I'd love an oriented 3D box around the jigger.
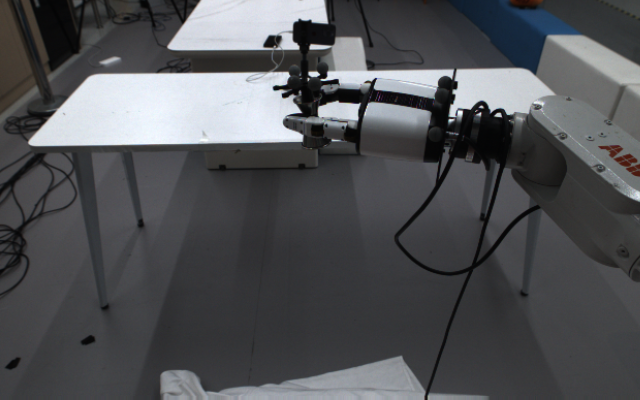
[{"bbox_3d":[-0.010,-0.111,0.672,0.043,0.071,0.043,-9,31,5],"label":"jigger"}]
